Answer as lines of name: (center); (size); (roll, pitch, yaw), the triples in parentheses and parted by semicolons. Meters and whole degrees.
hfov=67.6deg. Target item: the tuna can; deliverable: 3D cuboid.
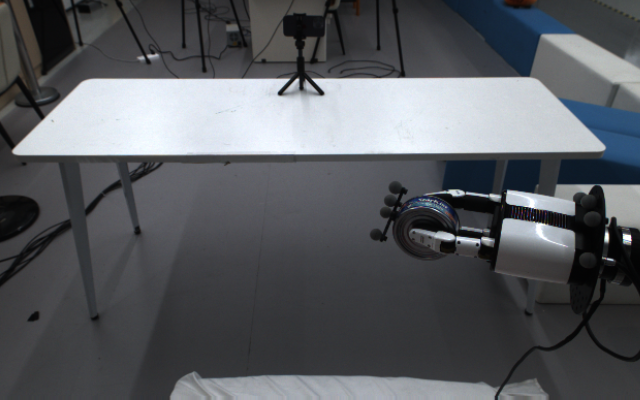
tuna can: (0.145, 0.036, 0.651); (0.085, 0.085, 0.034); (12, 29, 14)
